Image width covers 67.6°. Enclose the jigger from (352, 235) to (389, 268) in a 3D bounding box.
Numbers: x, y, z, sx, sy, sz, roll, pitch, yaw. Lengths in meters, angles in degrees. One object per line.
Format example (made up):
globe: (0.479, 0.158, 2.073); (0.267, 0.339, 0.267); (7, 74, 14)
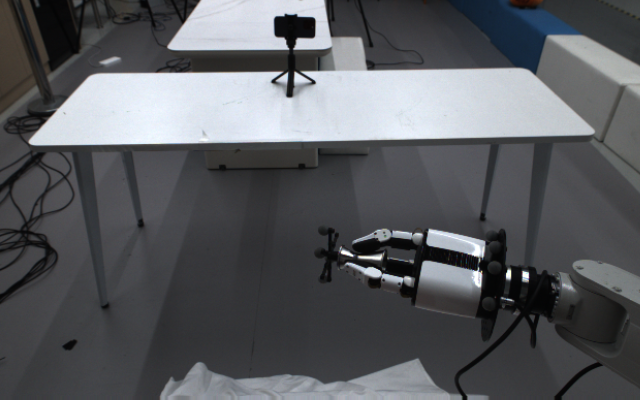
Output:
jigger: (0.070, 0.087, 0.724); (0.071, 0.043, 0.043); (7, 35, 16)
